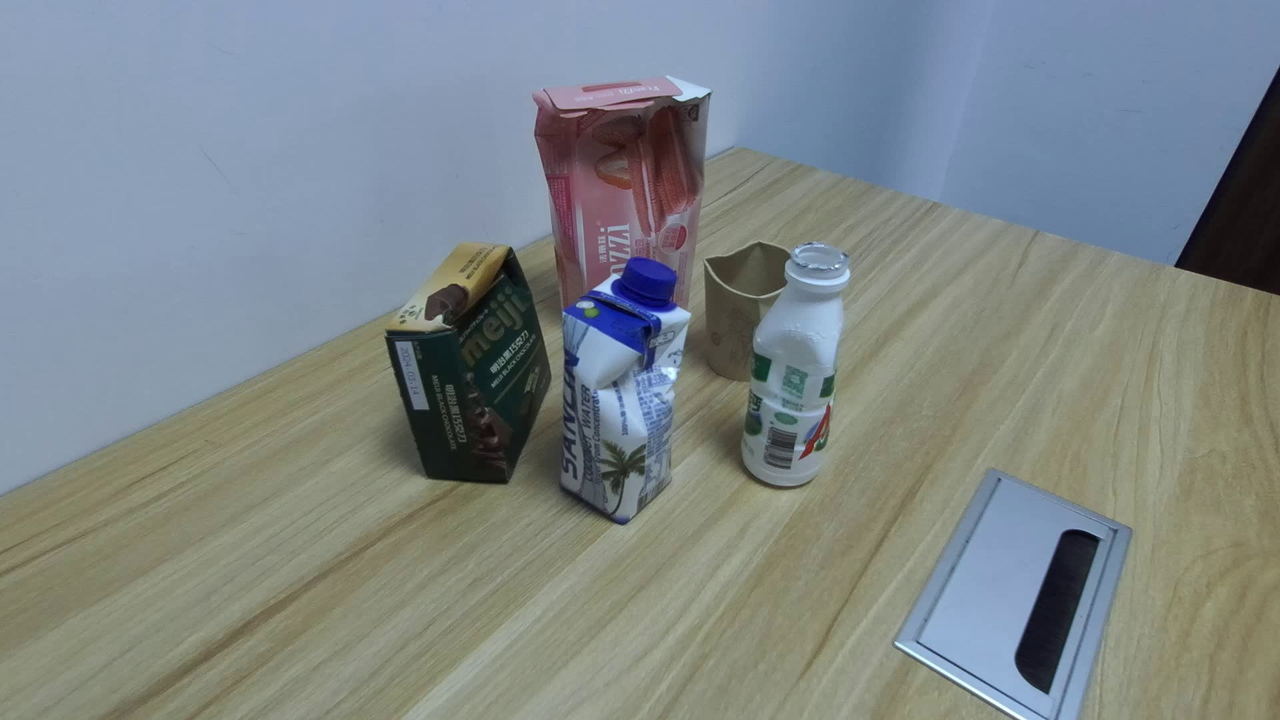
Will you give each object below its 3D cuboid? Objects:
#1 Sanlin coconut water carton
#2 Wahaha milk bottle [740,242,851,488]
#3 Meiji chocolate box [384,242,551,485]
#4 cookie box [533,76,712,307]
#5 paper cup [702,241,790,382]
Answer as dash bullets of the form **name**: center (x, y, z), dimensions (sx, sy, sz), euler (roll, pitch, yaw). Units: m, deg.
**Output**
- **Sanlin coconut water carton**: center (-0.009, 0.018, 0.393), dimensions (0.060, 0.144, 0.070), euler (27, 42, 30)
- **Wahaha milk bottle**: center (0.091, 0.005, 0.409), dimensions (0.055, 0.149, 0.055), euler (0, 36, 0)
- **Meiji chocolate box**: center (-0.103, 0.001, 0.449), dimensions (0.058, 0.111, 0.113), euler (-2, 32, 8)
- **cookie box**: center (-0.012, -0.108, 0.531), dimensions (0.119, 0.184, 0.055), euler (-14, 38, -19)
- **paper cup**: center (0.082, -0.032, 0.520), dimensions (0.072, 0.084, 0.066), euler (-21, 40, -30)
